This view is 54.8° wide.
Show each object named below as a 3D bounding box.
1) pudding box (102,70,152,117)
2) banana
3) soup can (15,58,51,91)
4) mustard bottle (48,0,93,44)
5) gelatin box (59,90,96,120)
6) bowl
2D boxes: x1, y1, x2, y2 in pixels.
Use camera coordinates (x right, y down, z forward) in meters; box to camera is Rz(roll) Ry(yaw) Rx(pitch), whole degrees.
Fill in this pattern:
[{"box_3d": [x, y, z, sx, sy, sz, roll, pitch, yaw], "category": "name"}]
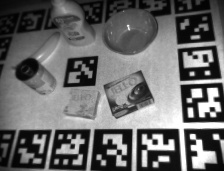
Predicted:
[{"box_3d": [0.037, 0.020, 0.571, 0.114, 0.039, 0.089, -24, 68, 3], "category": "pudding box"}, {"box_3d": [-0.251, -0.117, 0.709, 0.198, 0.039, 0.073, -45, 53, -8], "category": "banana"}, {"box_3d": [-0.229, -0.033, 0.619, 0.067, 0.103, 0.067, -5, 63, 11], "category": "soup can"}, {"box_3d": [-0.129, -0.197, 0.614, 0.095, 0.193, 0.058, -3, 63, 14], "category": "mustard bottle"}, {"box_3d": [-0.096, 0.053, 0.596, 0.088, 0.030, 0.073, 4, 71, 17], "category": "gelatin box"}, {"box_3d": [0.055, -0.155, 0.640, 0.160, 0.056, 0.161, -6, 64, 14], "category": "bowl"}]
